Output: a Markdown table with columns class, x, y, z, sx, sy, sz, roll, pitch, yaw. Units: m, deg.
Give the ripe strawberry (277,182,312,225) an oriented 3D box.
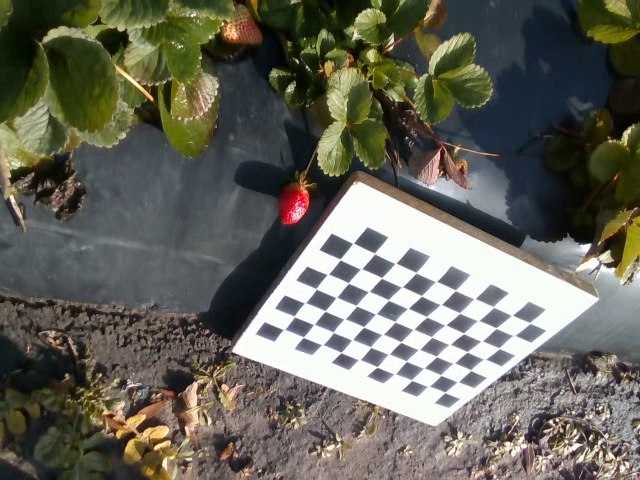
| class | x | y | z | sx | sy | sz | roll | pitch | yaw |
| --- | --- | --- | --- | --- | --- | --- | --- | --- | --- |
| ripe strawberry | -0.022 | -0.027 | 0.482 | 0.034 | 0.038 | 0.033 | 23 | -15 | -17 |
